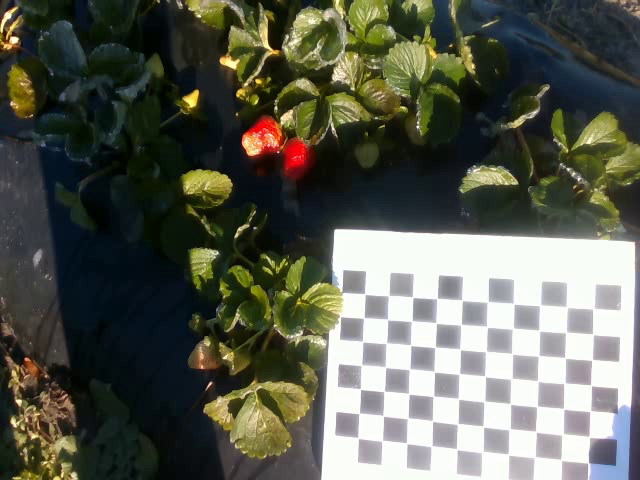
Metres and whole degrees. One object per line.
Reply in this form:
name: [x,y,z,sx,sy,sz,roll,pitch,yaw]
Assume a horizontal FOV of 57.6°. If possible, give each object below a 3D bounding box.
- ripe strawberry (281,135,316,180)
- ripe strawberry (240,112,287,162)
ripe strawberry: [-0.033,-0.110,0.742,0.043,0.059,0.040,2,-8,11]
ripe strawberry: [-0.077,-0.134,0.762,0.069,0.053,0.040,-41,-3,-2]
